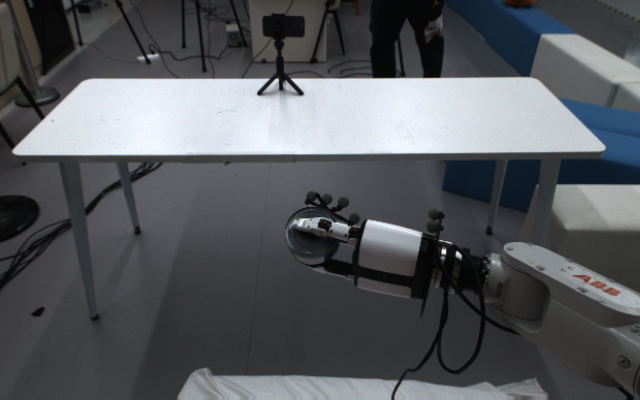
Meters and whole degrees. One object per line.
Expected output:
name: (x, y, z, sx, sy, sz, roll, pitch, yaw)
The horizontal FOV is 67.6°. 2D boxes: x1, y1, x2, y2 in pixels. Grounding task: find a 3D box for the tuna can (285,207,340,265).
tuna can: (-0.010, 0.055, 0.745, 0.085, 0.034, 0.085, -2, 60, 3)
